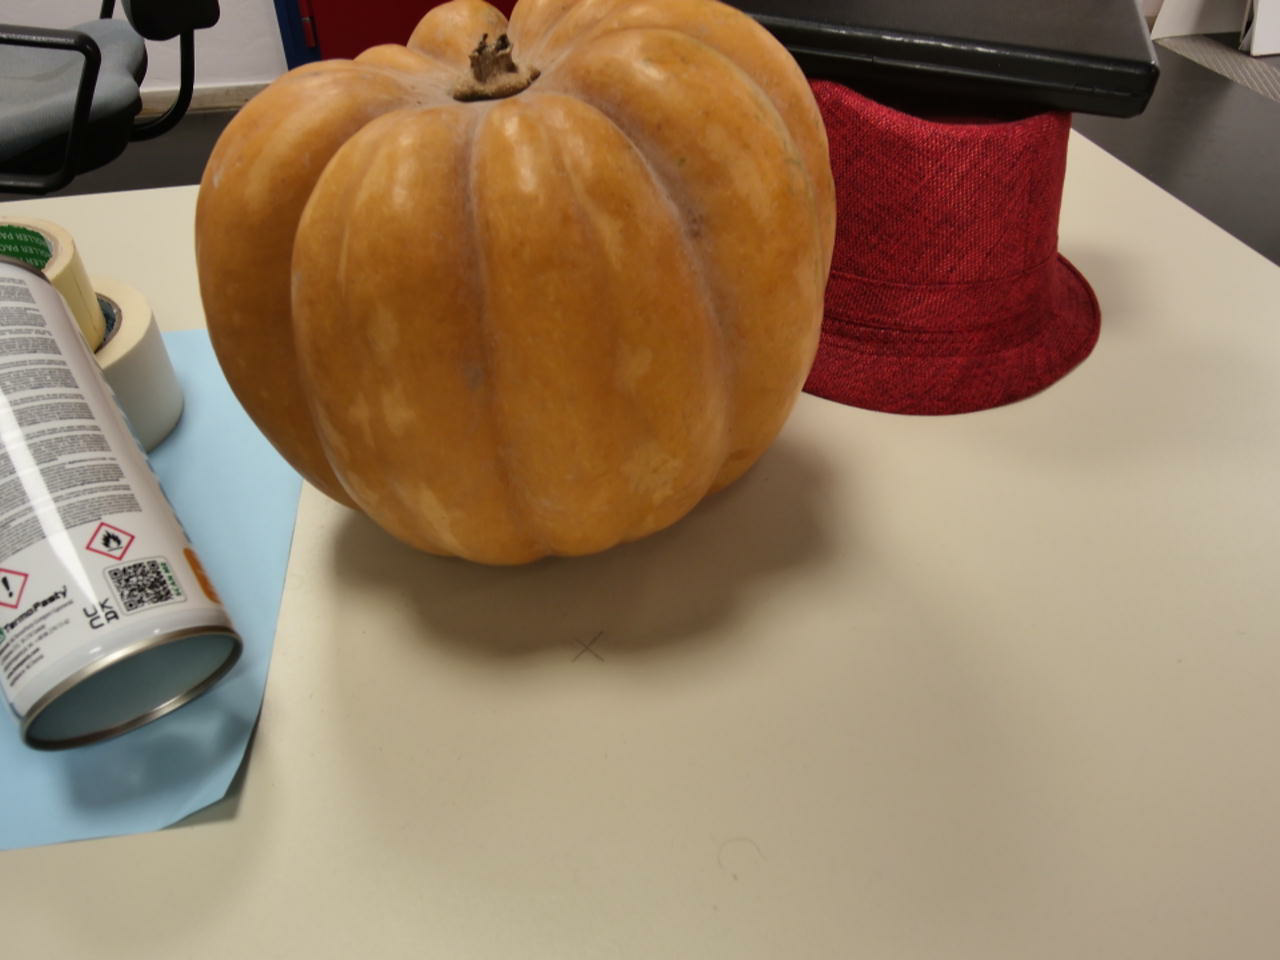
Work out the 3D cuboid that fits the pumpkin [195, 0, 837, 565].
[{"bbox_3d":[-0.039,-0.076,0.377,0.230,0.194,0.230,0,39,0],"label":"pumpkin"}]
